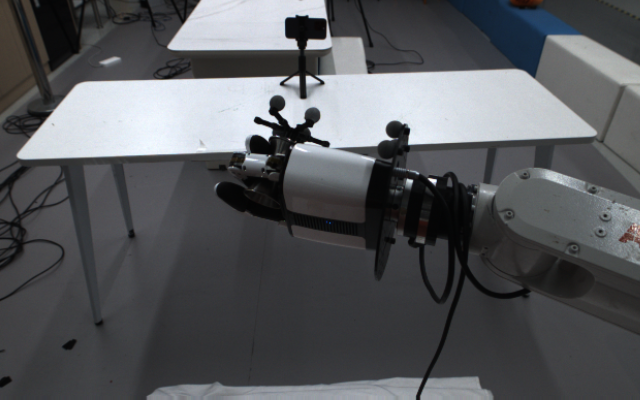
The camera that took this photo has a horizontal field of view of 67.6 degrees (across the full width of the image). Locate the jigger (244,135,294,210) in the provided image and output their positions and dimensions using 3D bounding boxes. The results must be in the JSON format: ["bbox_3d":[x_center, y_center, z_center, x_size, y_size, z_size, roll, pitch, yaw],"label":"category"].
[{"bbox_3d":[-0.047,-0.031,0.520,0.043,0.043,0.071,15,70,18],"label":"jigger"}]
